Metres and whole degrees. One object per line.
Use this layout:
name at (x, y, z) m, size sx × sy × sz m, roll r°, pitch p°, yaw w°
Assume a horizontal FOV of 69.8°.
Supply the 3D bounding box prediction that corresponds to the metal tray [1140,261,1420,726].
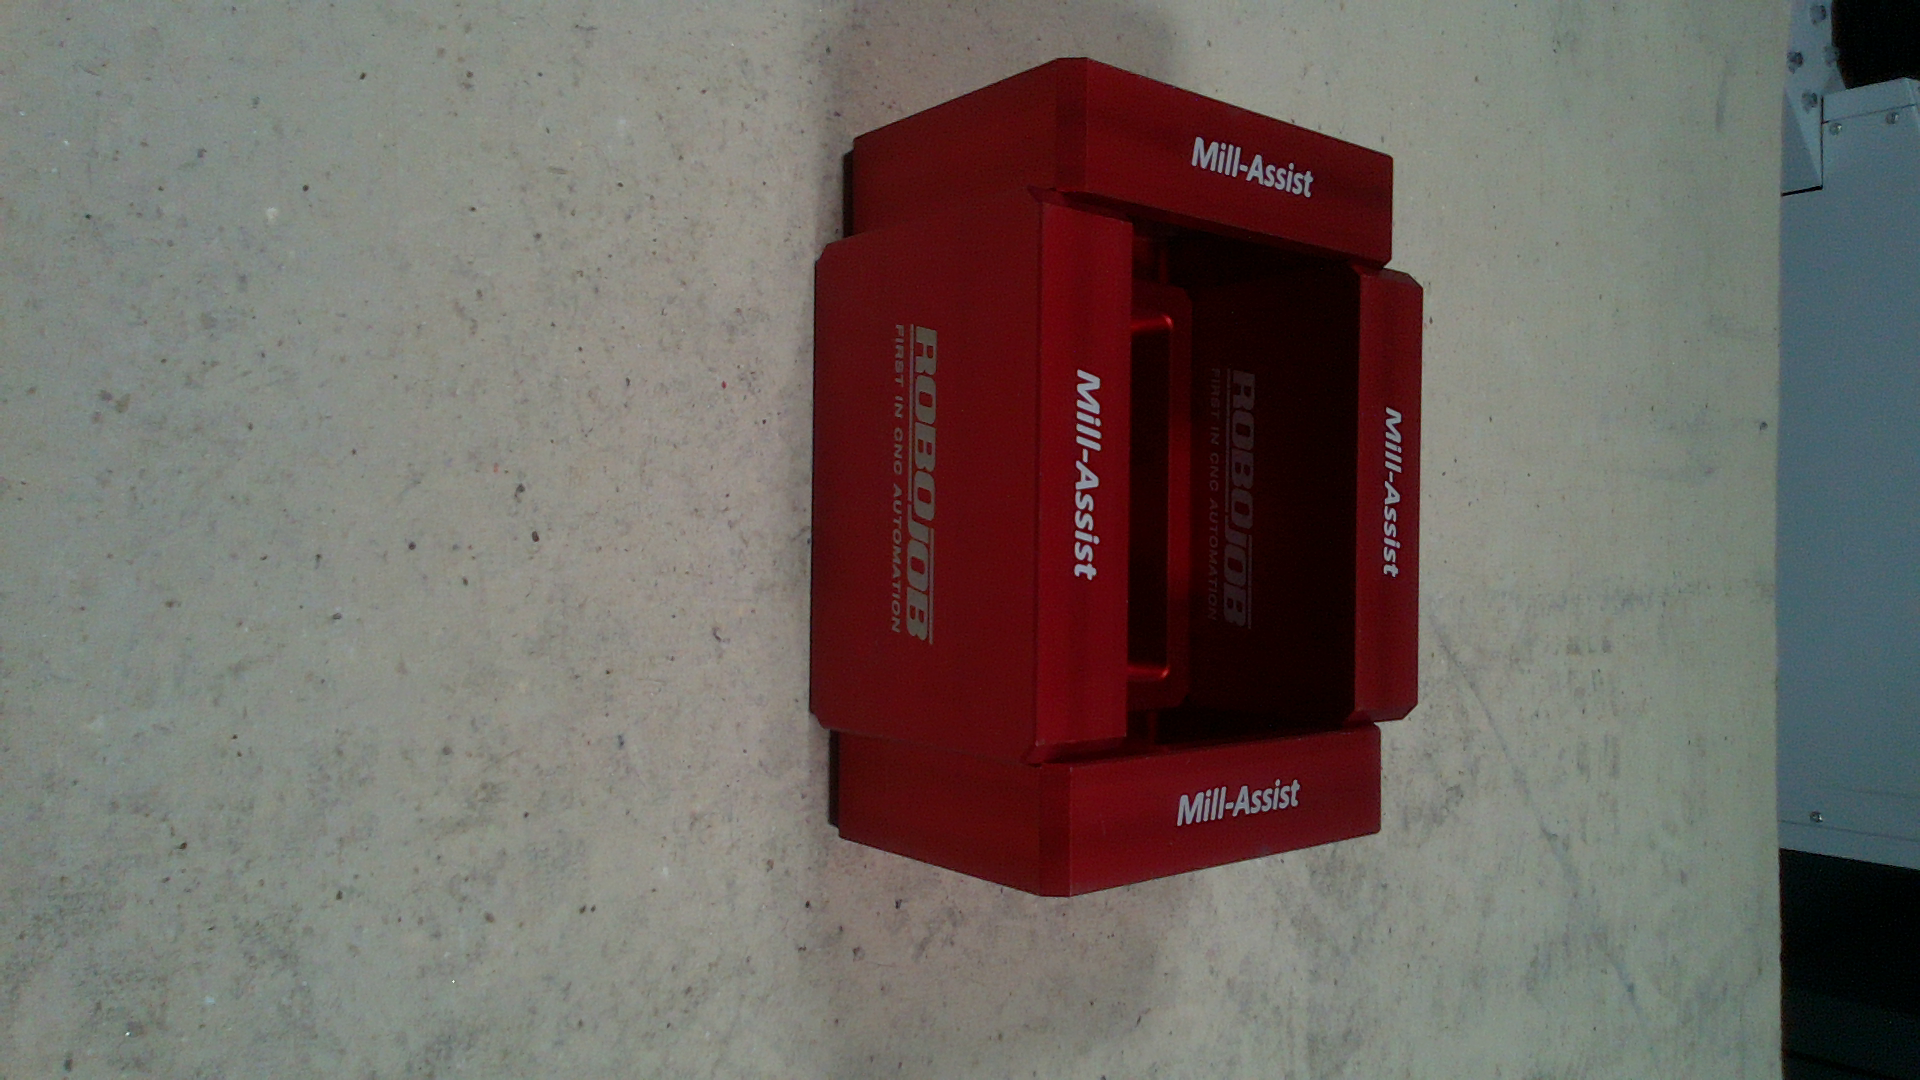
metal tray at (0.093, -0.013, 0.424) m, size 0.030 × 0.090 × 0.130 m, roll 1°, pitch 89°, yaw -40°

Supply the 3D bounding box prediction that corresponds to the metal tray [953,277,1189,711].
metal tray at (0.027, -0.014, 0.408) m, size 0.090 × 0.030 × 0.130 m, roll 1°, pitch 89°, yaw -40°

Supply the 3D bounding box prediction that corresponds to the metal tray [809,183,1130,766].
metal tray at (0.000, -0.015, 0.346) m, size 0.030 × 0.090 × 0.130 m, roll 1°, pitch 89°, yaw -40°

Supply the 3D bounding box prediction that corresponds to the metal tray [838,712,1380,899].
metal tray at (0.043, 0.067, 0.382) m, size 0.131 × 0.090 × 0.030 m, roll 1°, pitch 89°, yaw -40°

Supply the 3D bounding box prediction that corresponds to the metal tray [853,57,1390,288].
metal tray at (0.047, -0.094, 0.385) m, size 0.131 × 0.090 × 0.030 m, roll 1°, pitch 89°, yaw -40°
